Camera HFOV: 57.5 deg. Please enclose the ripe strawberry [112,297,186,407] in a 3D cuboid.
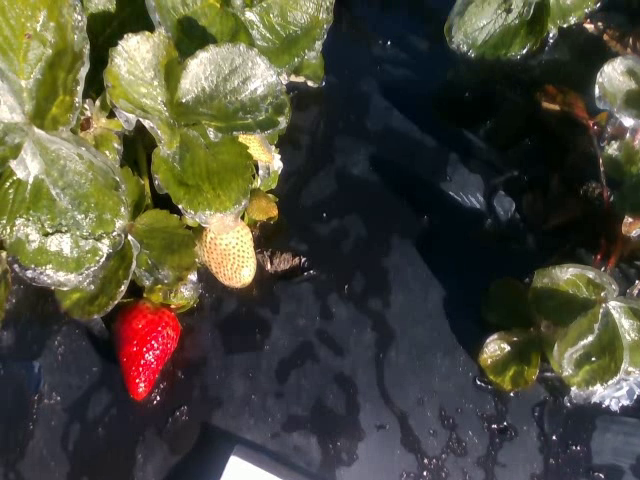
[{"bbox_3d":[-0.100,0.062,0.316,0.041,0.052,0.040,8,-7,2],"label":"ripe strawberry"}]
